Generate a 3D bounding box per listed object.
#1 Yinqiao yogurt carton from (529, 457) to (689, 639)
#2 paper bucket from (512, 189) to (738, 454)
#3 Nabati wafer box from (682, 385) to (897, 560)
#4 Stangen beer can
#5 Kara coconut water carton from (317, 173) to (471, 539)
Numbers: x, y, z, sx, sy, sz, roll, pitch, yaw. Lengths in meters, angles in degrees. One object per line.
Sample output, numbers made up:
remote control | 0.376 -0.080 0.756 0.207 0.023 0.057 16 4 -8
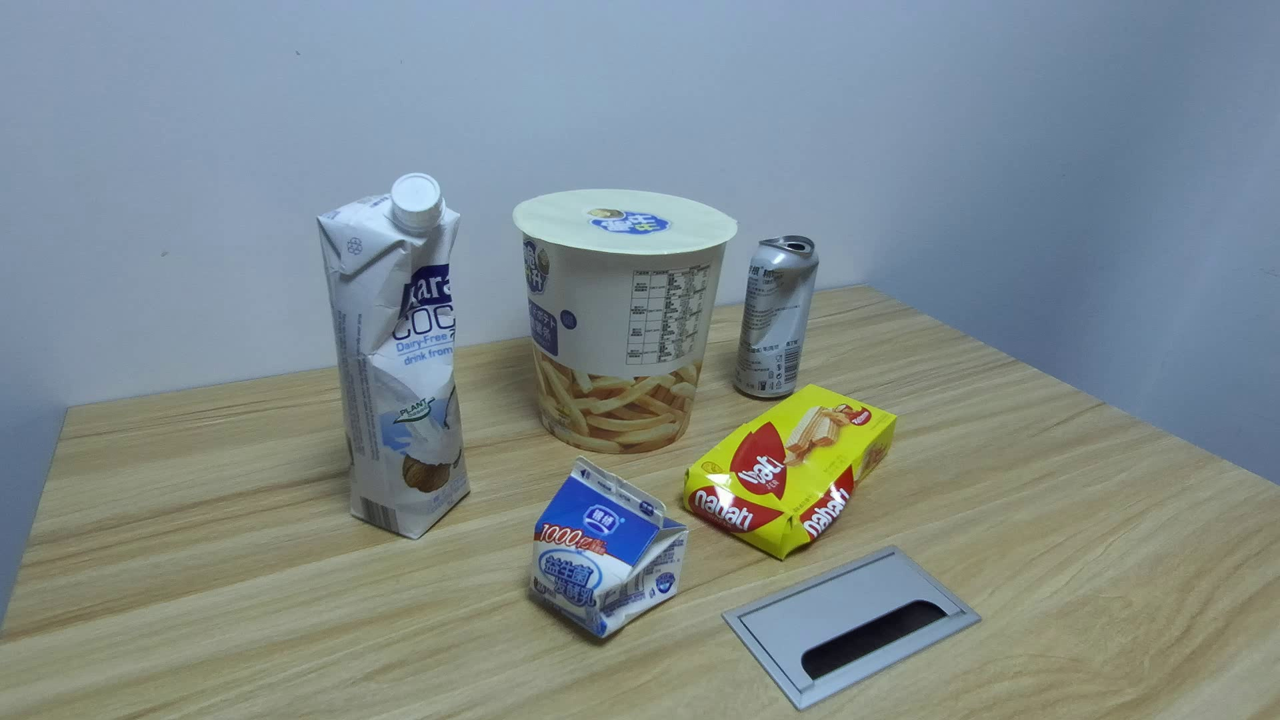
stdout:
Yinqiao yogurt carton | -0.020 0.116 0.454 0.074 0.097 0.080 21 24 29
paper bucket | -0.018 -0.036 0.643 0.198 0.194 0.198 4 28 -2
Nabati wafer box | 0.135 0.087 0.596 0.106 0.042 0.205 24 34 35
Stangen beer can | 0.137 -0.042 0.713 0.065 0.162 0.077 10 27 9
Kara coconut water carton | -0.166 -0.001 0.489 0.078 0.255 0.083 22 31 29
